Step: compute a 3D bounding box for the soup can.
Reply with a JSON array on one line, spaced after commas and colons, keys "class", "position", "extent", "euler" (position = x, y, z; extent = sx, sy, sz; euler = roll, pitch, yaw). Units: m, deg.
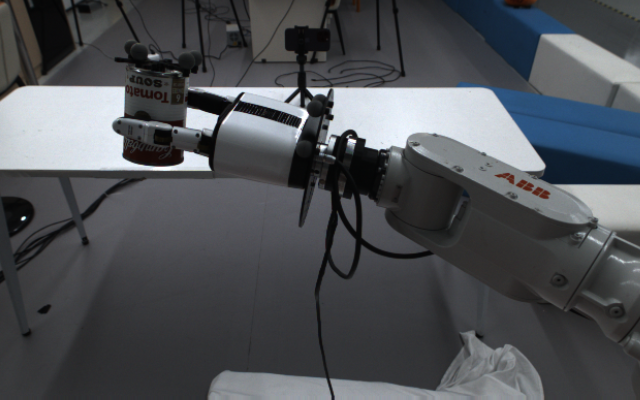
[{"class": "soup can", "position": [-0.183, -0.095, 0.546], "extent": [0.067, 0.101, 0.067], "euler": [9, 20, -3]}]
